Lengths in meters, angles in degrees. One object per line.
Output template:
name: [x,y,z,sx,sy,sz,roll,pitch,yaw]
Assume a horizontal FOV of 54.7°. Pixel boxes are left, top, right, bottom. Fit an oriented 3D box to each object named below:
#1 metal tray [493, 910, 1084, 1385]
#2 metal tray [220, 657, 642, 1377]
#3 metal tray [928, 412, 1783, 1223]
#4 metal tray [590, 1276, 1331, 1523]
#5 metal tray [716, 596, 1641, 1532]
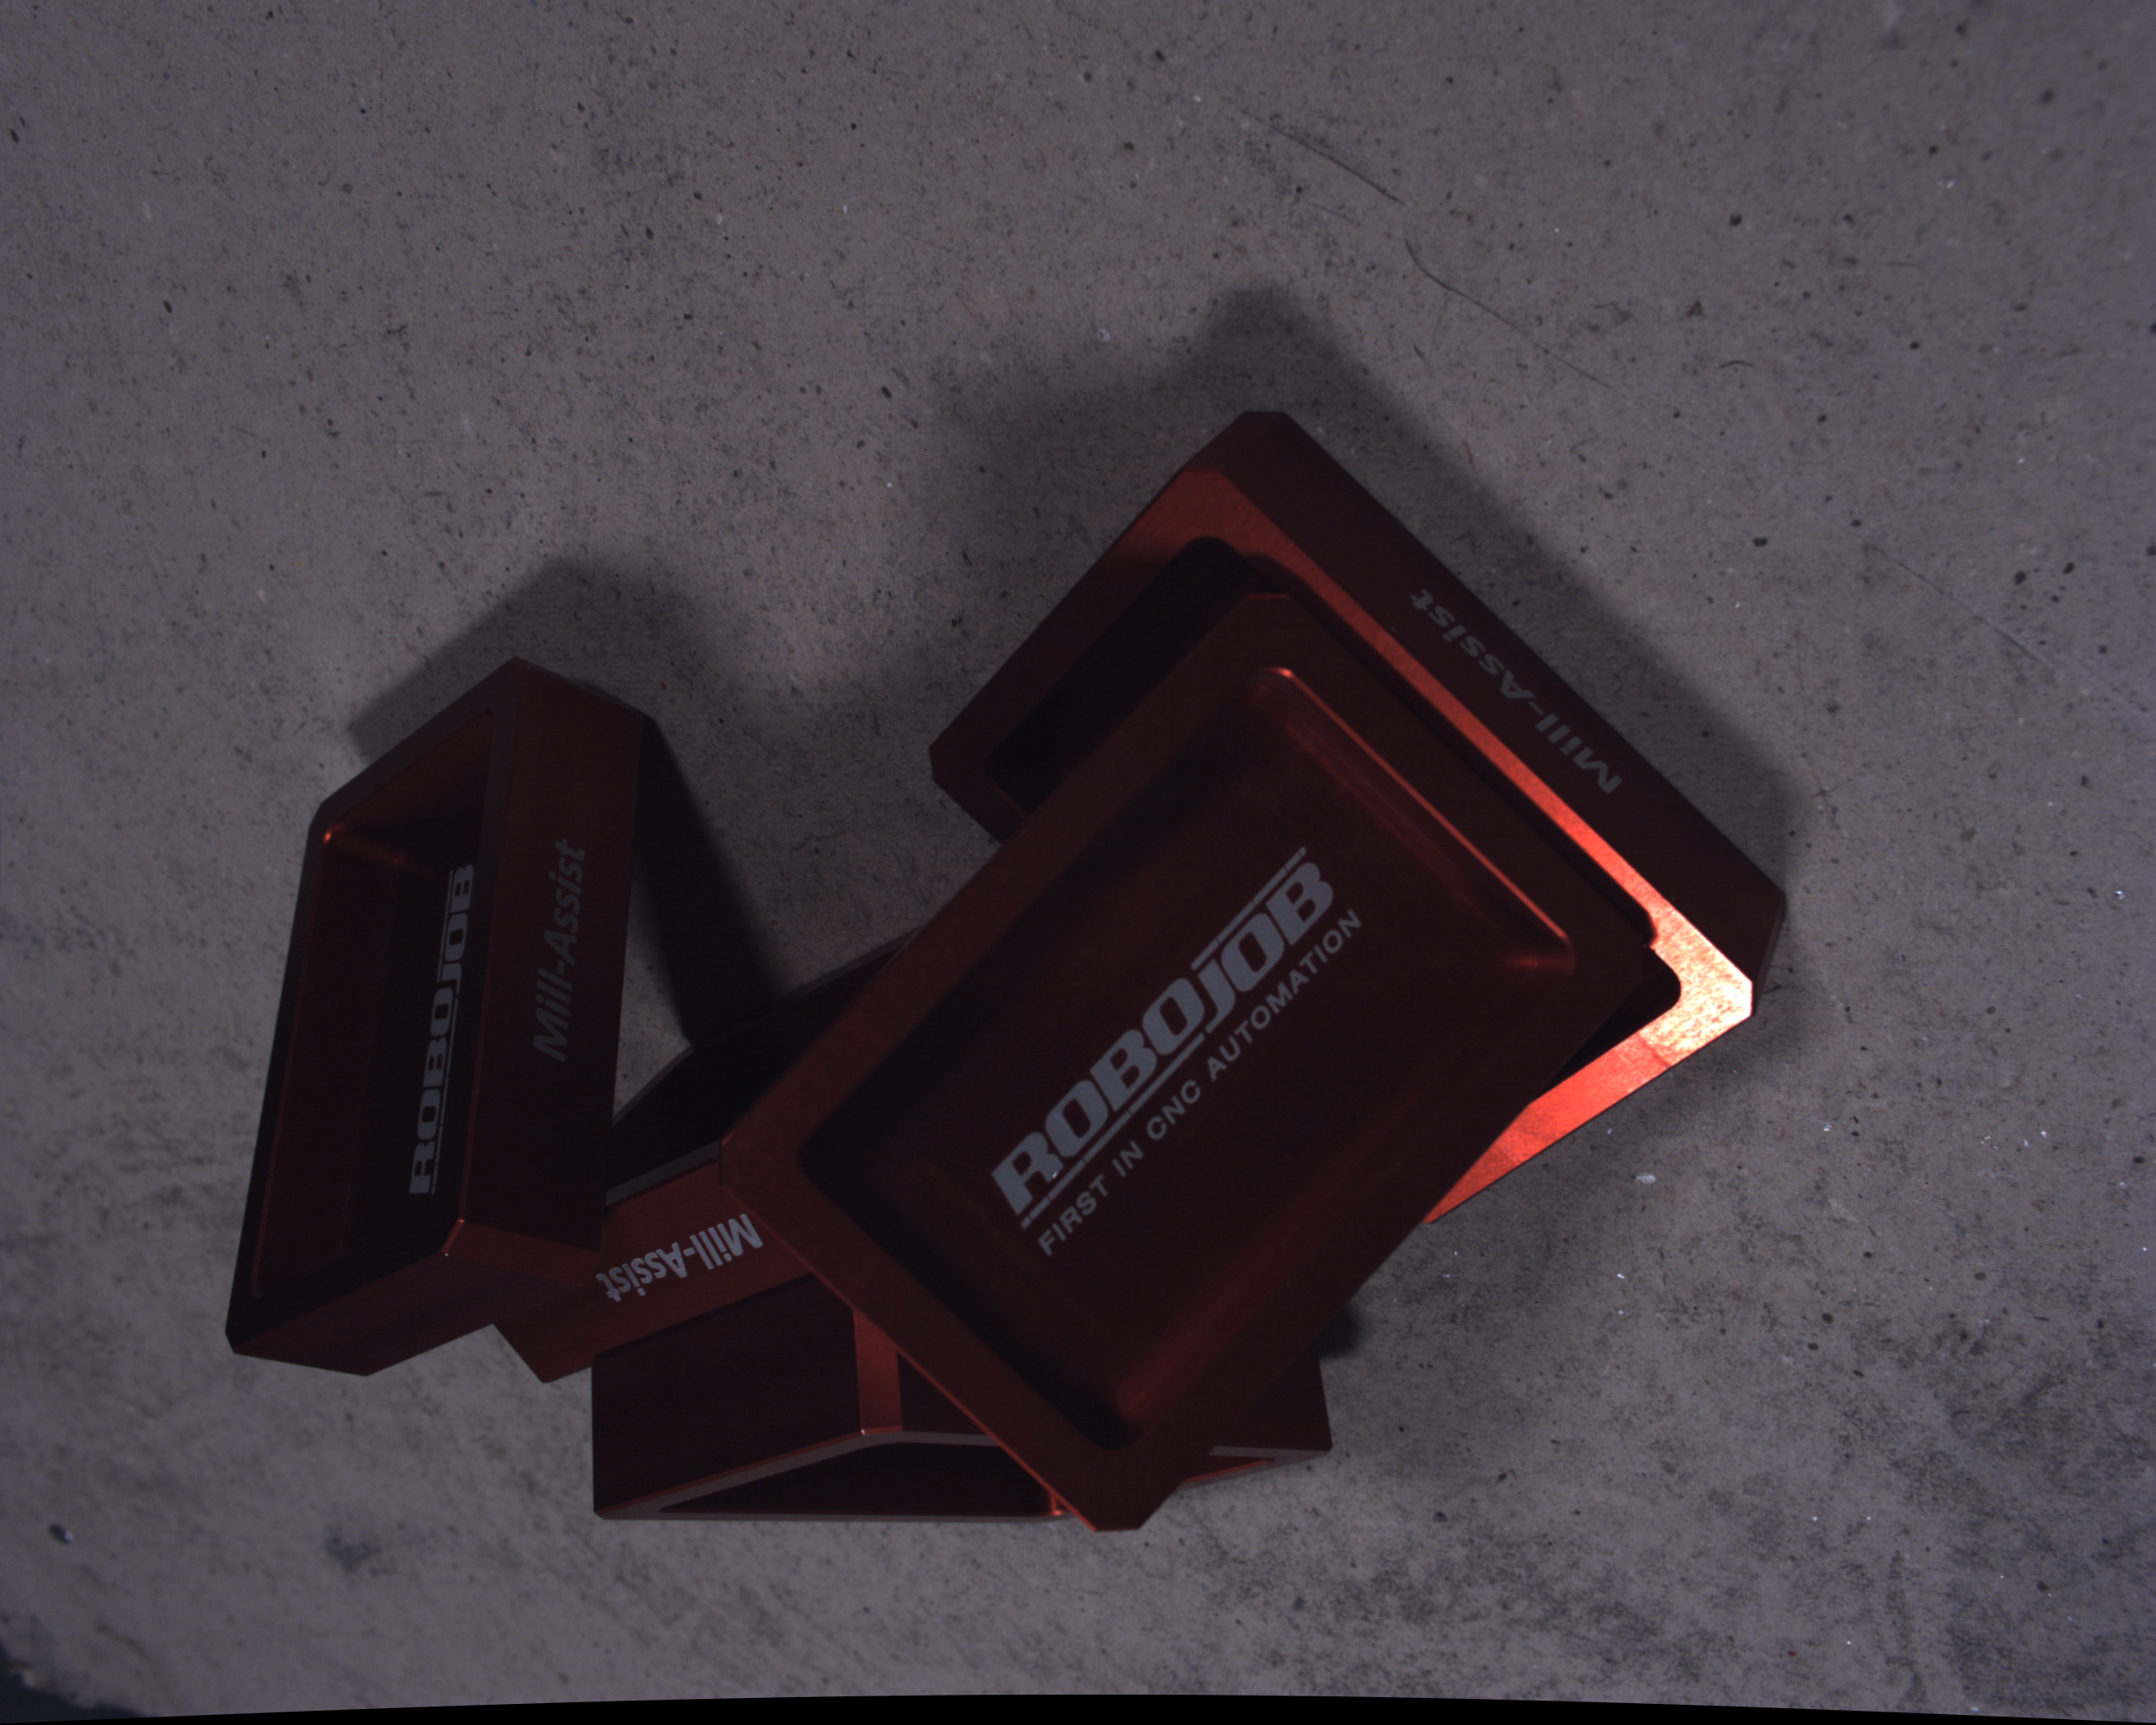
metal tray: [-0.057,0.053,0.428,0.130,0.090,0.030,-27,104,37]
metal tray: [-0.134,0.032,0.436,0.090,0.130,0.030,-27,142,36]
metal tray: [0.048,-0.005,0.376,0.130,0.030,0.090,43,129,-3]
metal tray: [-0.022,0.114,0.433,0.090,0.131,0.030,-27,59,37]
metal tray: [0.016,0.031,0.346,0.090,0.030,0.130,44,84,-3]
